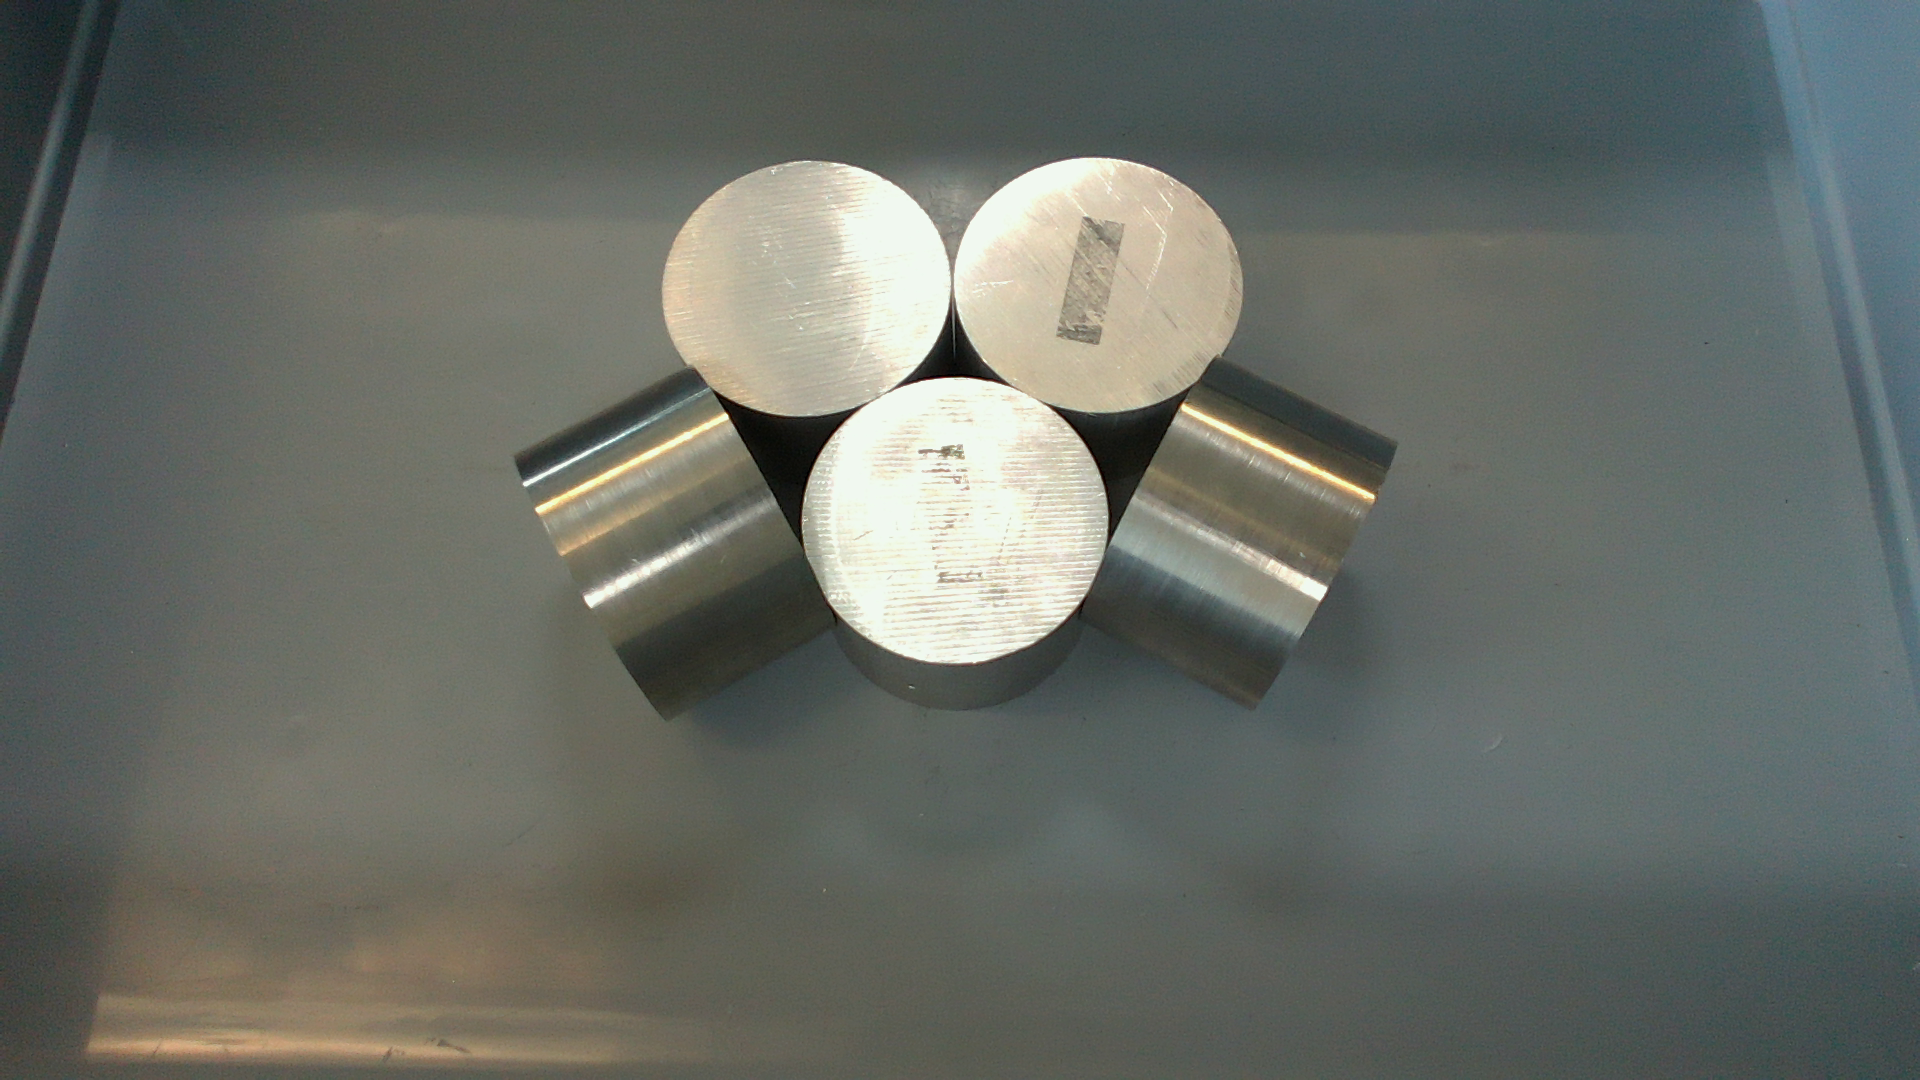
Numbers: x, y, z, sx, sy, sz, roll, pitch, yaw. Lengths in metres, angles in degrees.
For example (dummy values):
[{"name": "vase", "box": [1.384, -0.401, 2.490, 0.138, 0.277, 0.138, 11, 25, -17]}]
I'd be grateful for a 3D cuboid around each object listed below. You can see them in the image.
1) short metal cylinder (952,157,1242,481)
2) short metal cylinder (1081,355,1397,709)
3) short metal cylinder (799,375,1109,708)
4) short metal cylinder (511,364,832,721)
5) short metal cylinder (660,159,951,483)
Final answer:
[{"name": "short metal cylinder", "box": [0.038, -0.063, 0.403, 0.080, 0.050, 0.080, 0, 70, 0]}, {"name": "short metal cylinder", "box": [0.073, -0.002, 0.365, 0.050, 0.080, 0.080, 28, 72, 10]}, {"name": "short metal cylinder", "box": [-0.001, 0.002, 0.379, 0.080, 0.050, 0.080, 0, 70, 0]}, {"name": "short metal cylinder", "box": [-0.075, 0.000, 0.364, 0.050, 0.080, 0.080, -29, 72, -10]}, {"name": "short metal cylinder", "box": [-0.042, -0.063, 0.403, 0.080, 0.050, 0.080, 0, 70, 0]}]
